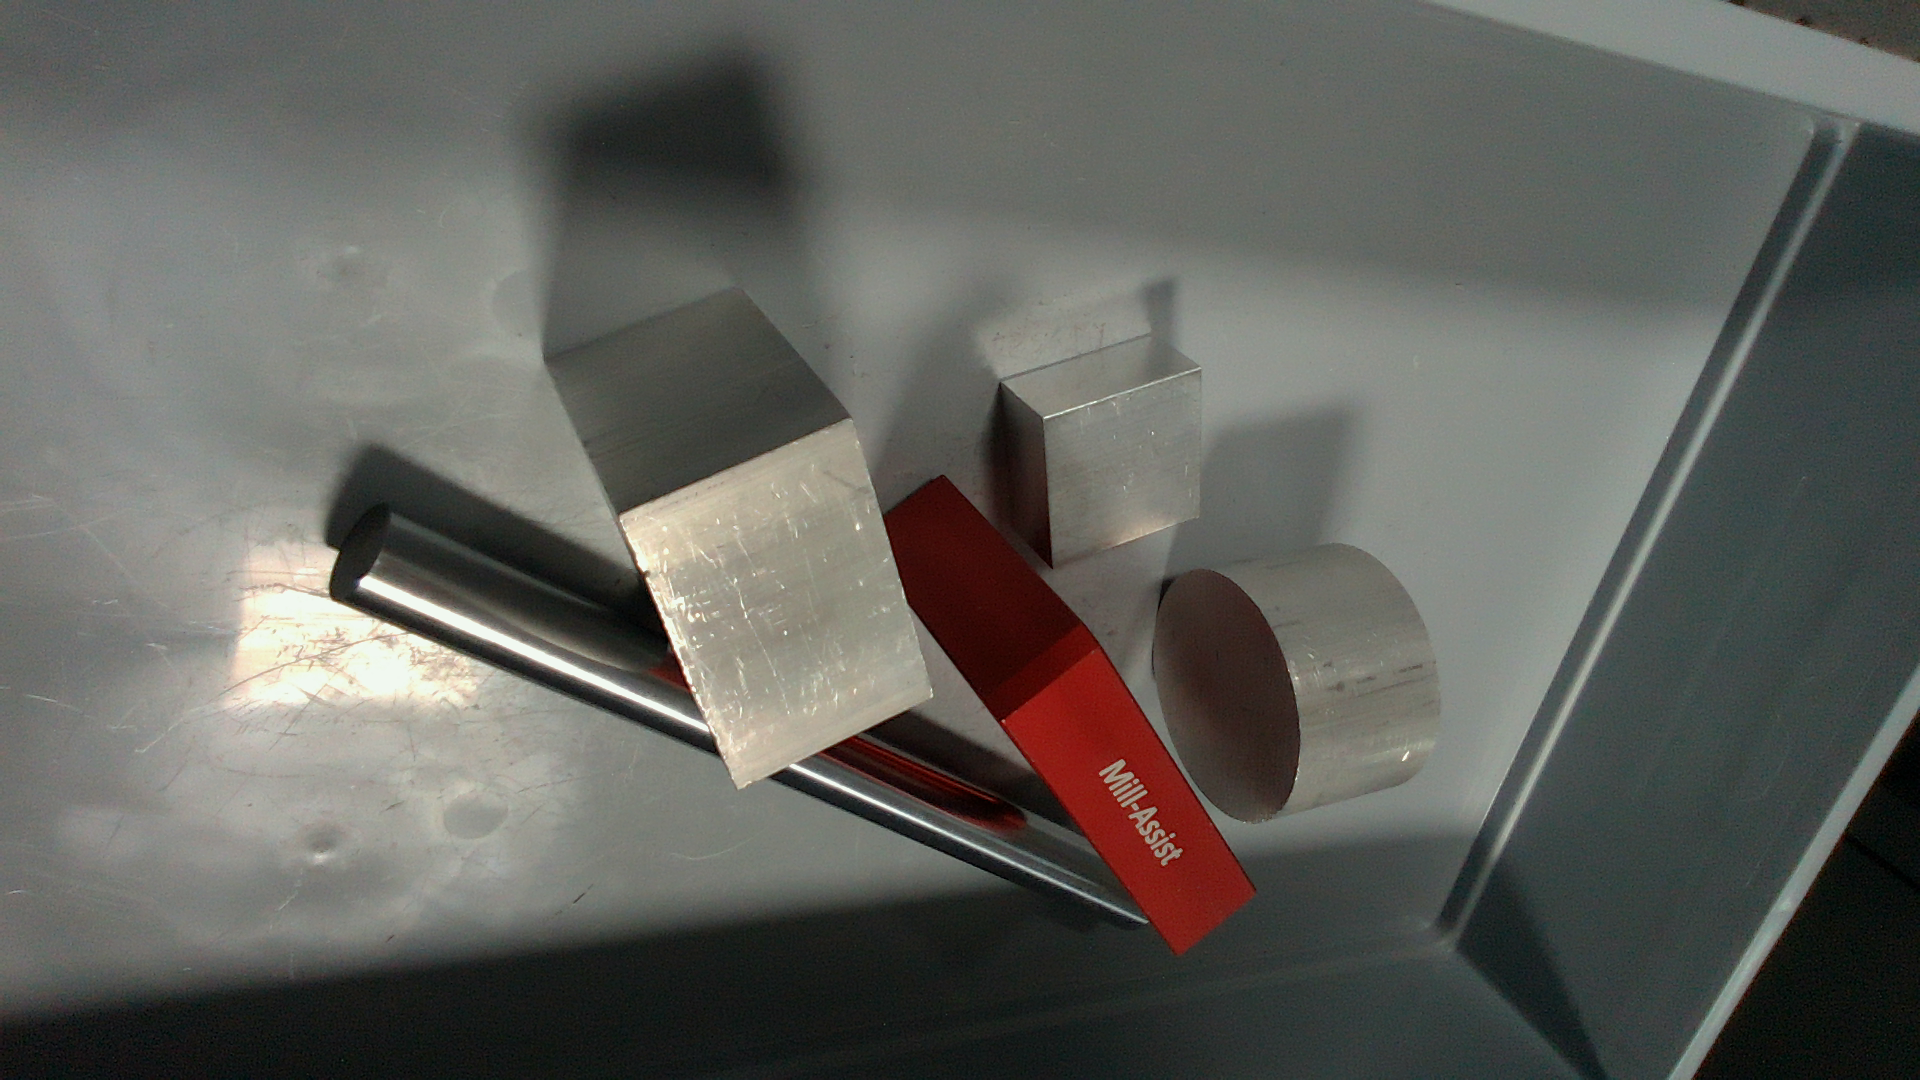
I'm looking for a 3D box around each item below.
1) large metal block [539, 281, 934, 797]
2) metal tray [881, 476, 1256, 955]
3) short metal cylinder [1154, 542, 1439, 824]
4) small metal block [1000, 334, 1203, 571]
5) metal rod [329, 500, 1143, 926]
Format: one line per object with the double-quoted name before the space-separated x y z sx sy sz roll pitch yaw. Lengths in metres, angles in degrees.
"large metal block" -0.053 -0.003 0.322 0.050 0.080 0.080 -24 127 -14
"metal tray" 0.029 0.051 0.392 0.030 0.090 0.130 -38 129 -3
"short metal cylinder" 0.104 0.044 0.435 0.050 0.080 0.080 -11 123 -21
"small metal block" 0.041 -0.025 0.393 0.050 0.025 0.050 -19 126 -18
"metal rod" -0.037 0.065 0.408 0.301 0.025 0.025 32 100 -38
